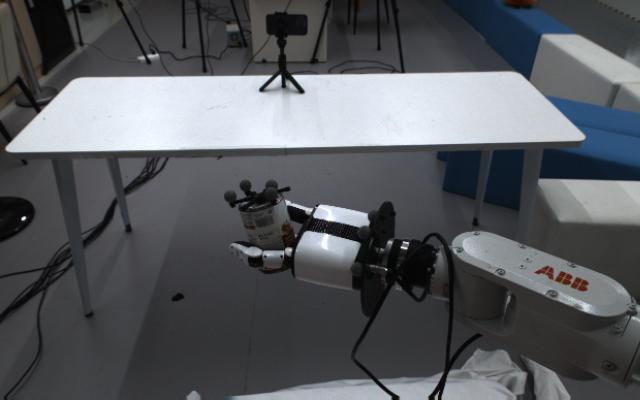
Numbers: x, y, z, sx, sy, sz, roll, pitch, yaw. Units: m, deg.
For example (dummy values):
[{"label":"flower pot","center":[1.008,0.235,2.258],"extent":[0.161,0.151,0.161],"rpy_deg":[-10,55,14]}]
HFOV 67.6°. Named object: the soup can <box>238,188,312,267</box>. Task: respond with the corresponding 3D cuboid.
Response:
[{"label":"soup can","center":[-0.070,0.046,0.695],"extent":[0.067,0.101,0.067],"rpy_deg":[-13,20,5]}]
